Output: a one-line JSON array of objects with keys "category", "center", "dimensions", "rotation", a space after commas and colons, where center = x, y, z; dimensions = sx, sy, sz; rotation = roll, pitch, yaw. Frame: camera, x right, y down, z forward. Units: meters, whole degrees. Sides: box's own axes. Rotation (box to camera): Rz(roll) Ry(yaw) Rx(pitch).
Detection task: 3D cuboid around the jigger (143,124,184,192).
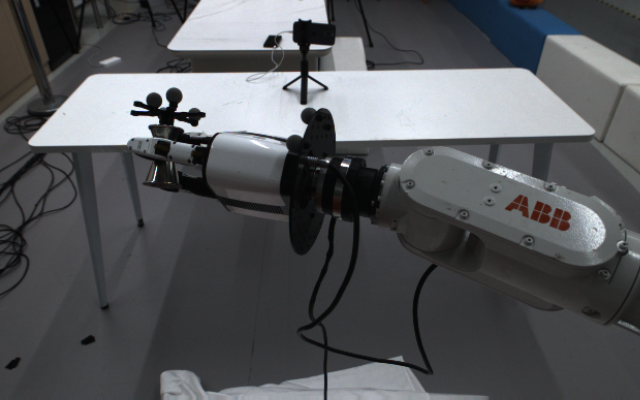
[{"category": "jigger", "center": [-0.180, -0.049, 0.563], "dimensions": [0.043, 0.071, 0.043], "rotation": [2, -6, 0]}]
